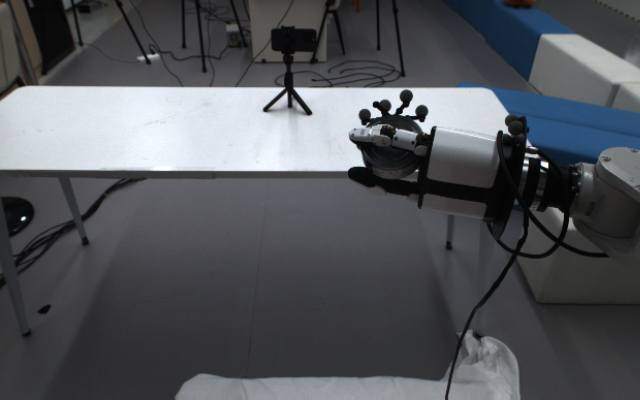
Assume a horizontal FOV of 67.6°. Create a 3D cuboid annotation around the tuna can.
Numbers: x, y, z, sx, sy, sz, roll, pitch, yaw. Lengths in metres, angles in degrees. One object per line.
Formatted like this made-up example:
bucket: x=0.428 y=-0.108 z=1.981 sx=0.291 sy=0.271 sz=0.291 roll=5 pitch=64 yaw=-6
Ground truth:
tuna can: x=0.098 y=-0.071 z=0.658 sx=0.085 sy=0.034 sz=0.085 roll=-6 pitch=61 yaw=10
